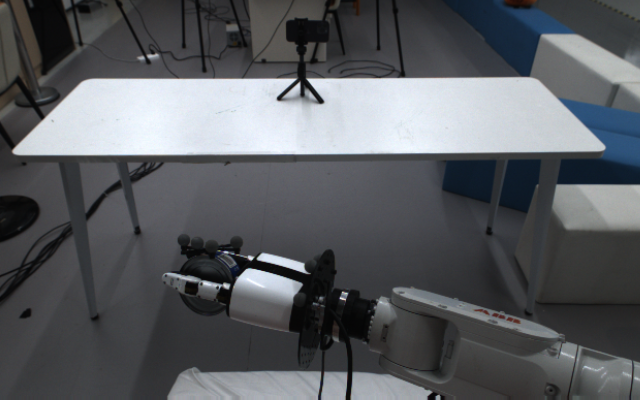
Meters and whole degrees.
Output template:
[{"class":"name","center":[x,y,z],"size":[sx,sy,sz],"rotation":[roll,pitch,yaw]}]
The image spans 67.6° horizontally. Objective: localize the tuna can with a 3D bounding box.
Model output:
[{"class":"tuna can","center":[-0.150,0.116,0.671],"size":[0.085,0.085,0.034],"rotation":[11,7,13]}]
